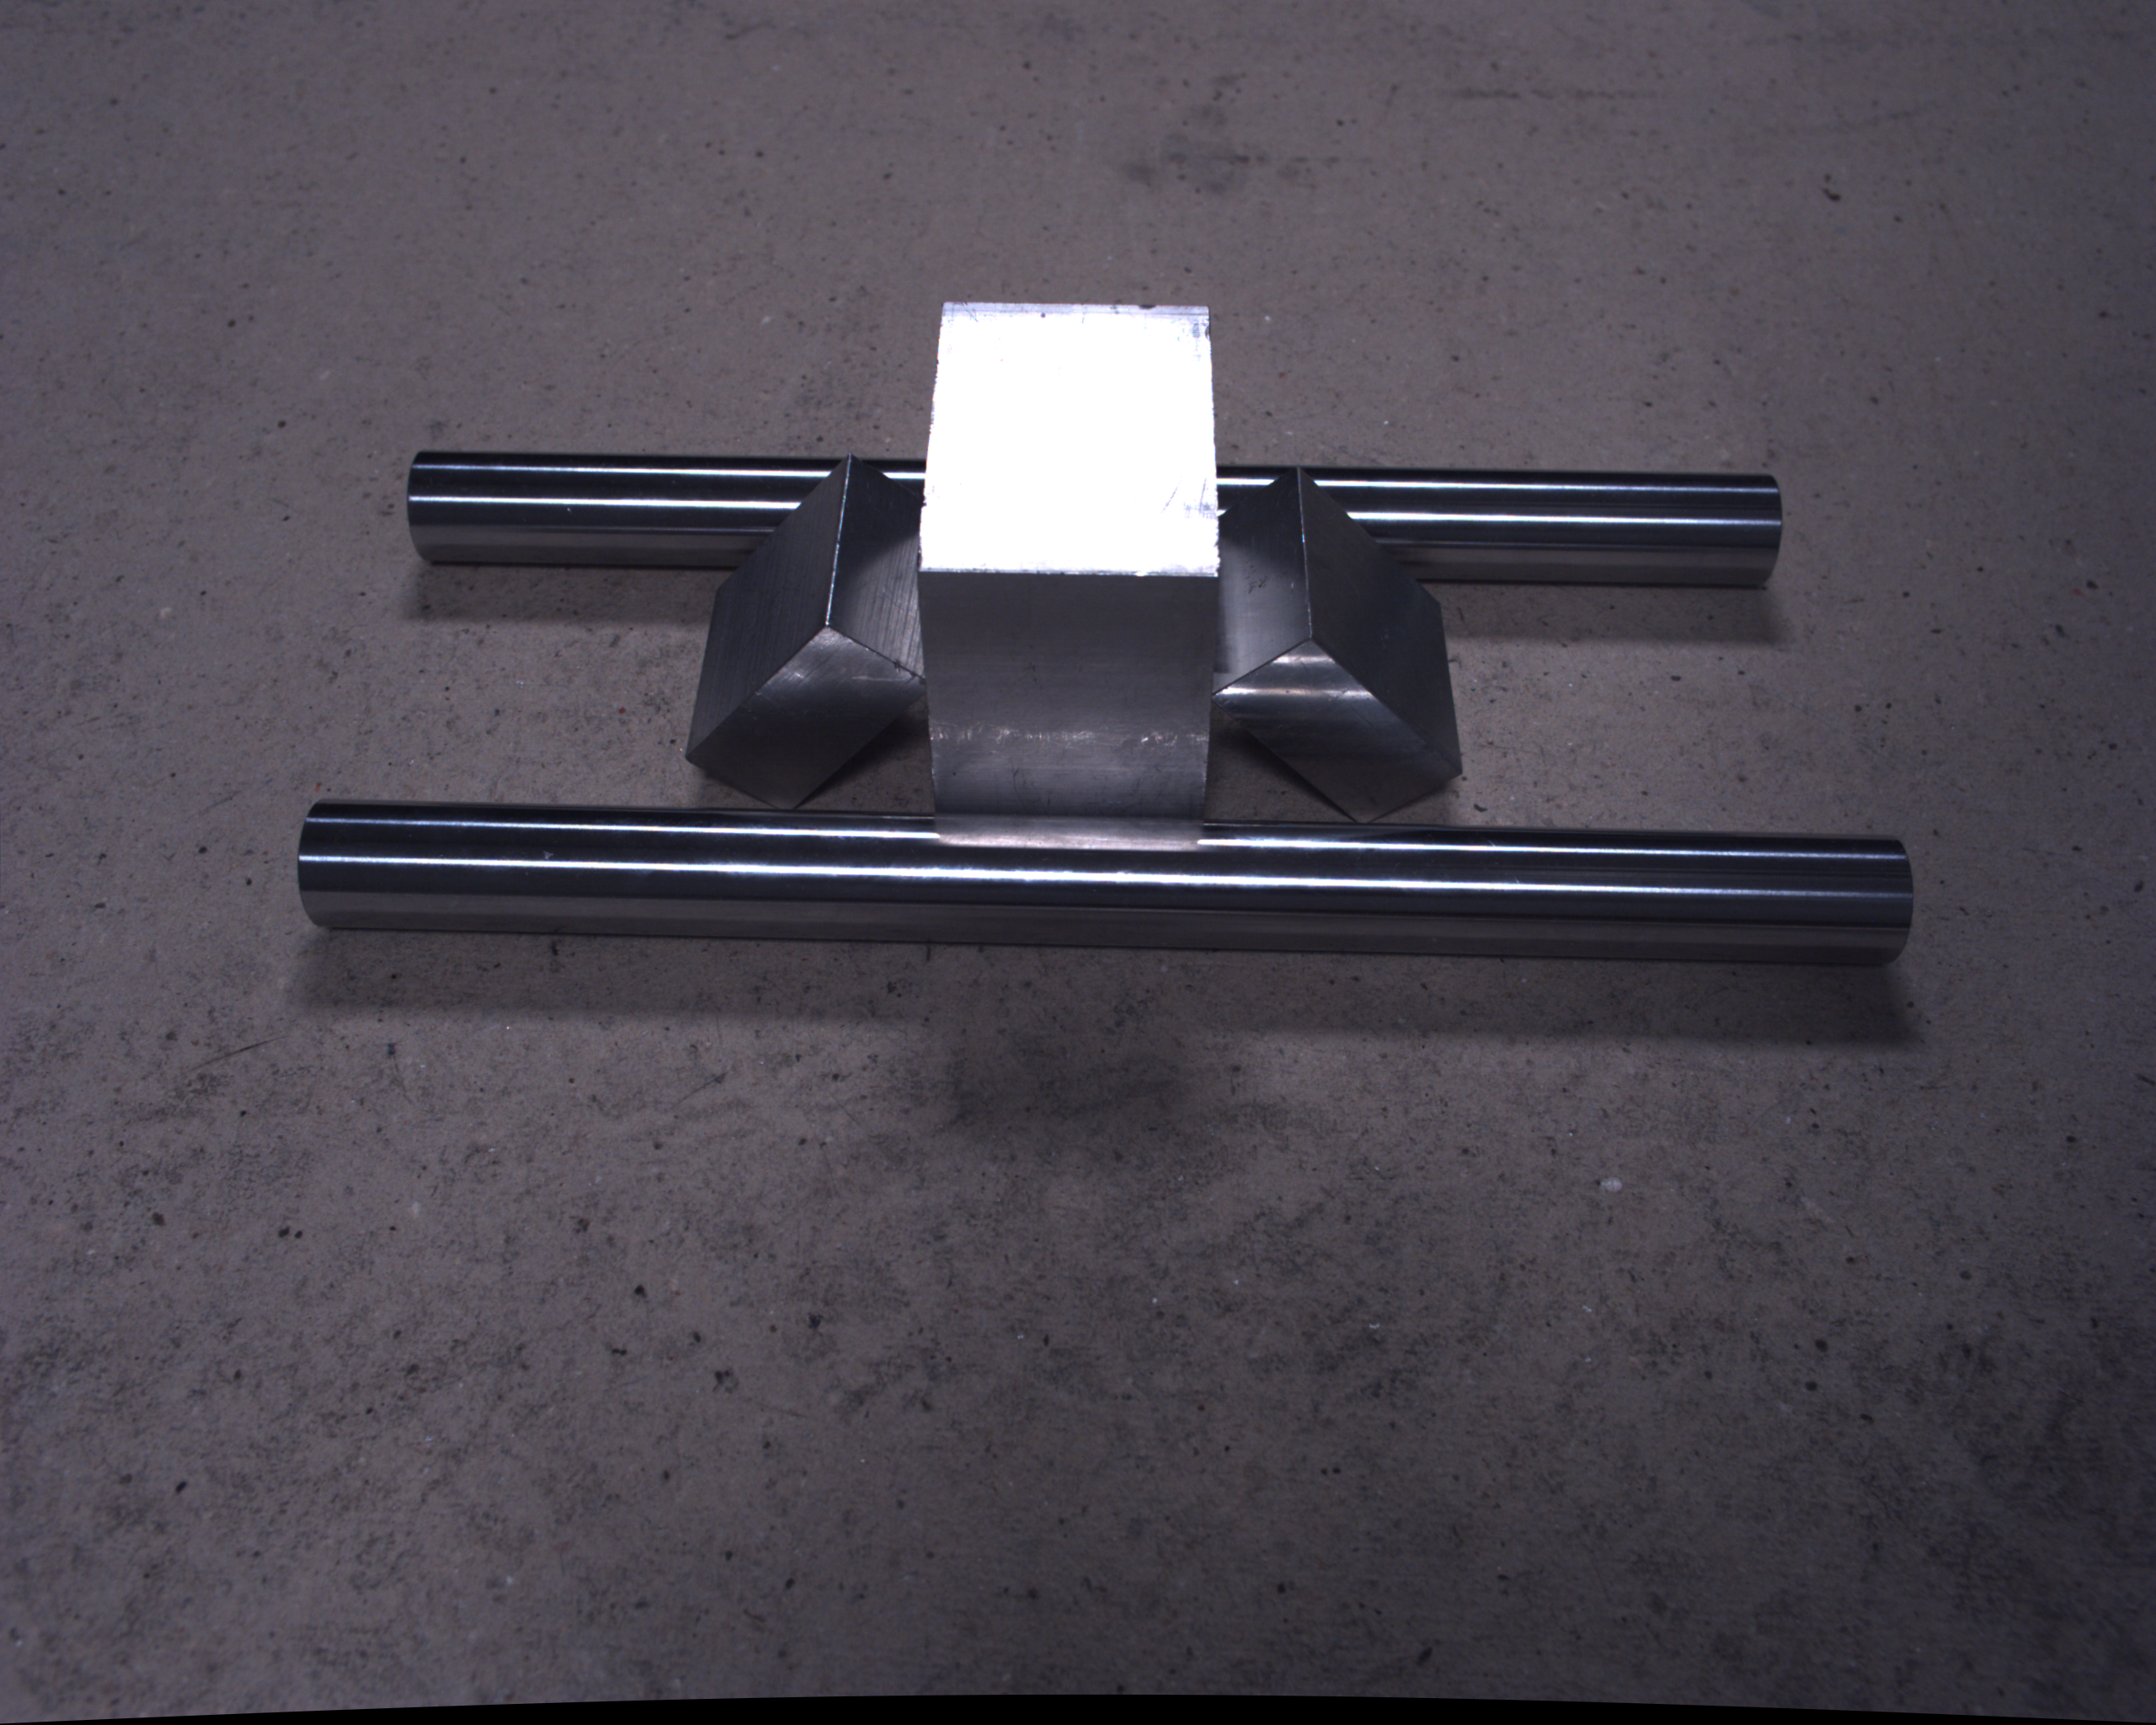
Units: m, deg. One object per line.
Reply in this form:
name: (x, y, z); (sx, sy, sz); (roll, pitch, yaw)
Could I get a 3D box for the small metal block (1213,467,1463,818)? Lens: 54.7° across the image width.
small metal block: (0.051, -0.043, 0.424); (0.025, 0.050, 0.050); (-30, 41, 31)

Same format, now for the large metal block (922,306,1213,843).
large metal block: (-0.002, -0.054, 0.417); (0.050, 0.080, 0.080); (1, 50, 0)

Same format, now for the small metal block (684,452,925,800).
small metal block: (-0.053, -0.046, 0.425); (0.025, 0.050, 0.050); (28, 43, -29)

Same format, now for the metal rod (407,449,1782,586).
metal rod: (0.004, -0.078, 0.470); (0.302, 0.025, 0.025); (1, 50, 0)

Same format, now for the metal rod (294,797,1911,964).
metal rod: (0.004, 0.003, 0.402); (0.302, 0.025, 0.025); (1, 50, 0)
